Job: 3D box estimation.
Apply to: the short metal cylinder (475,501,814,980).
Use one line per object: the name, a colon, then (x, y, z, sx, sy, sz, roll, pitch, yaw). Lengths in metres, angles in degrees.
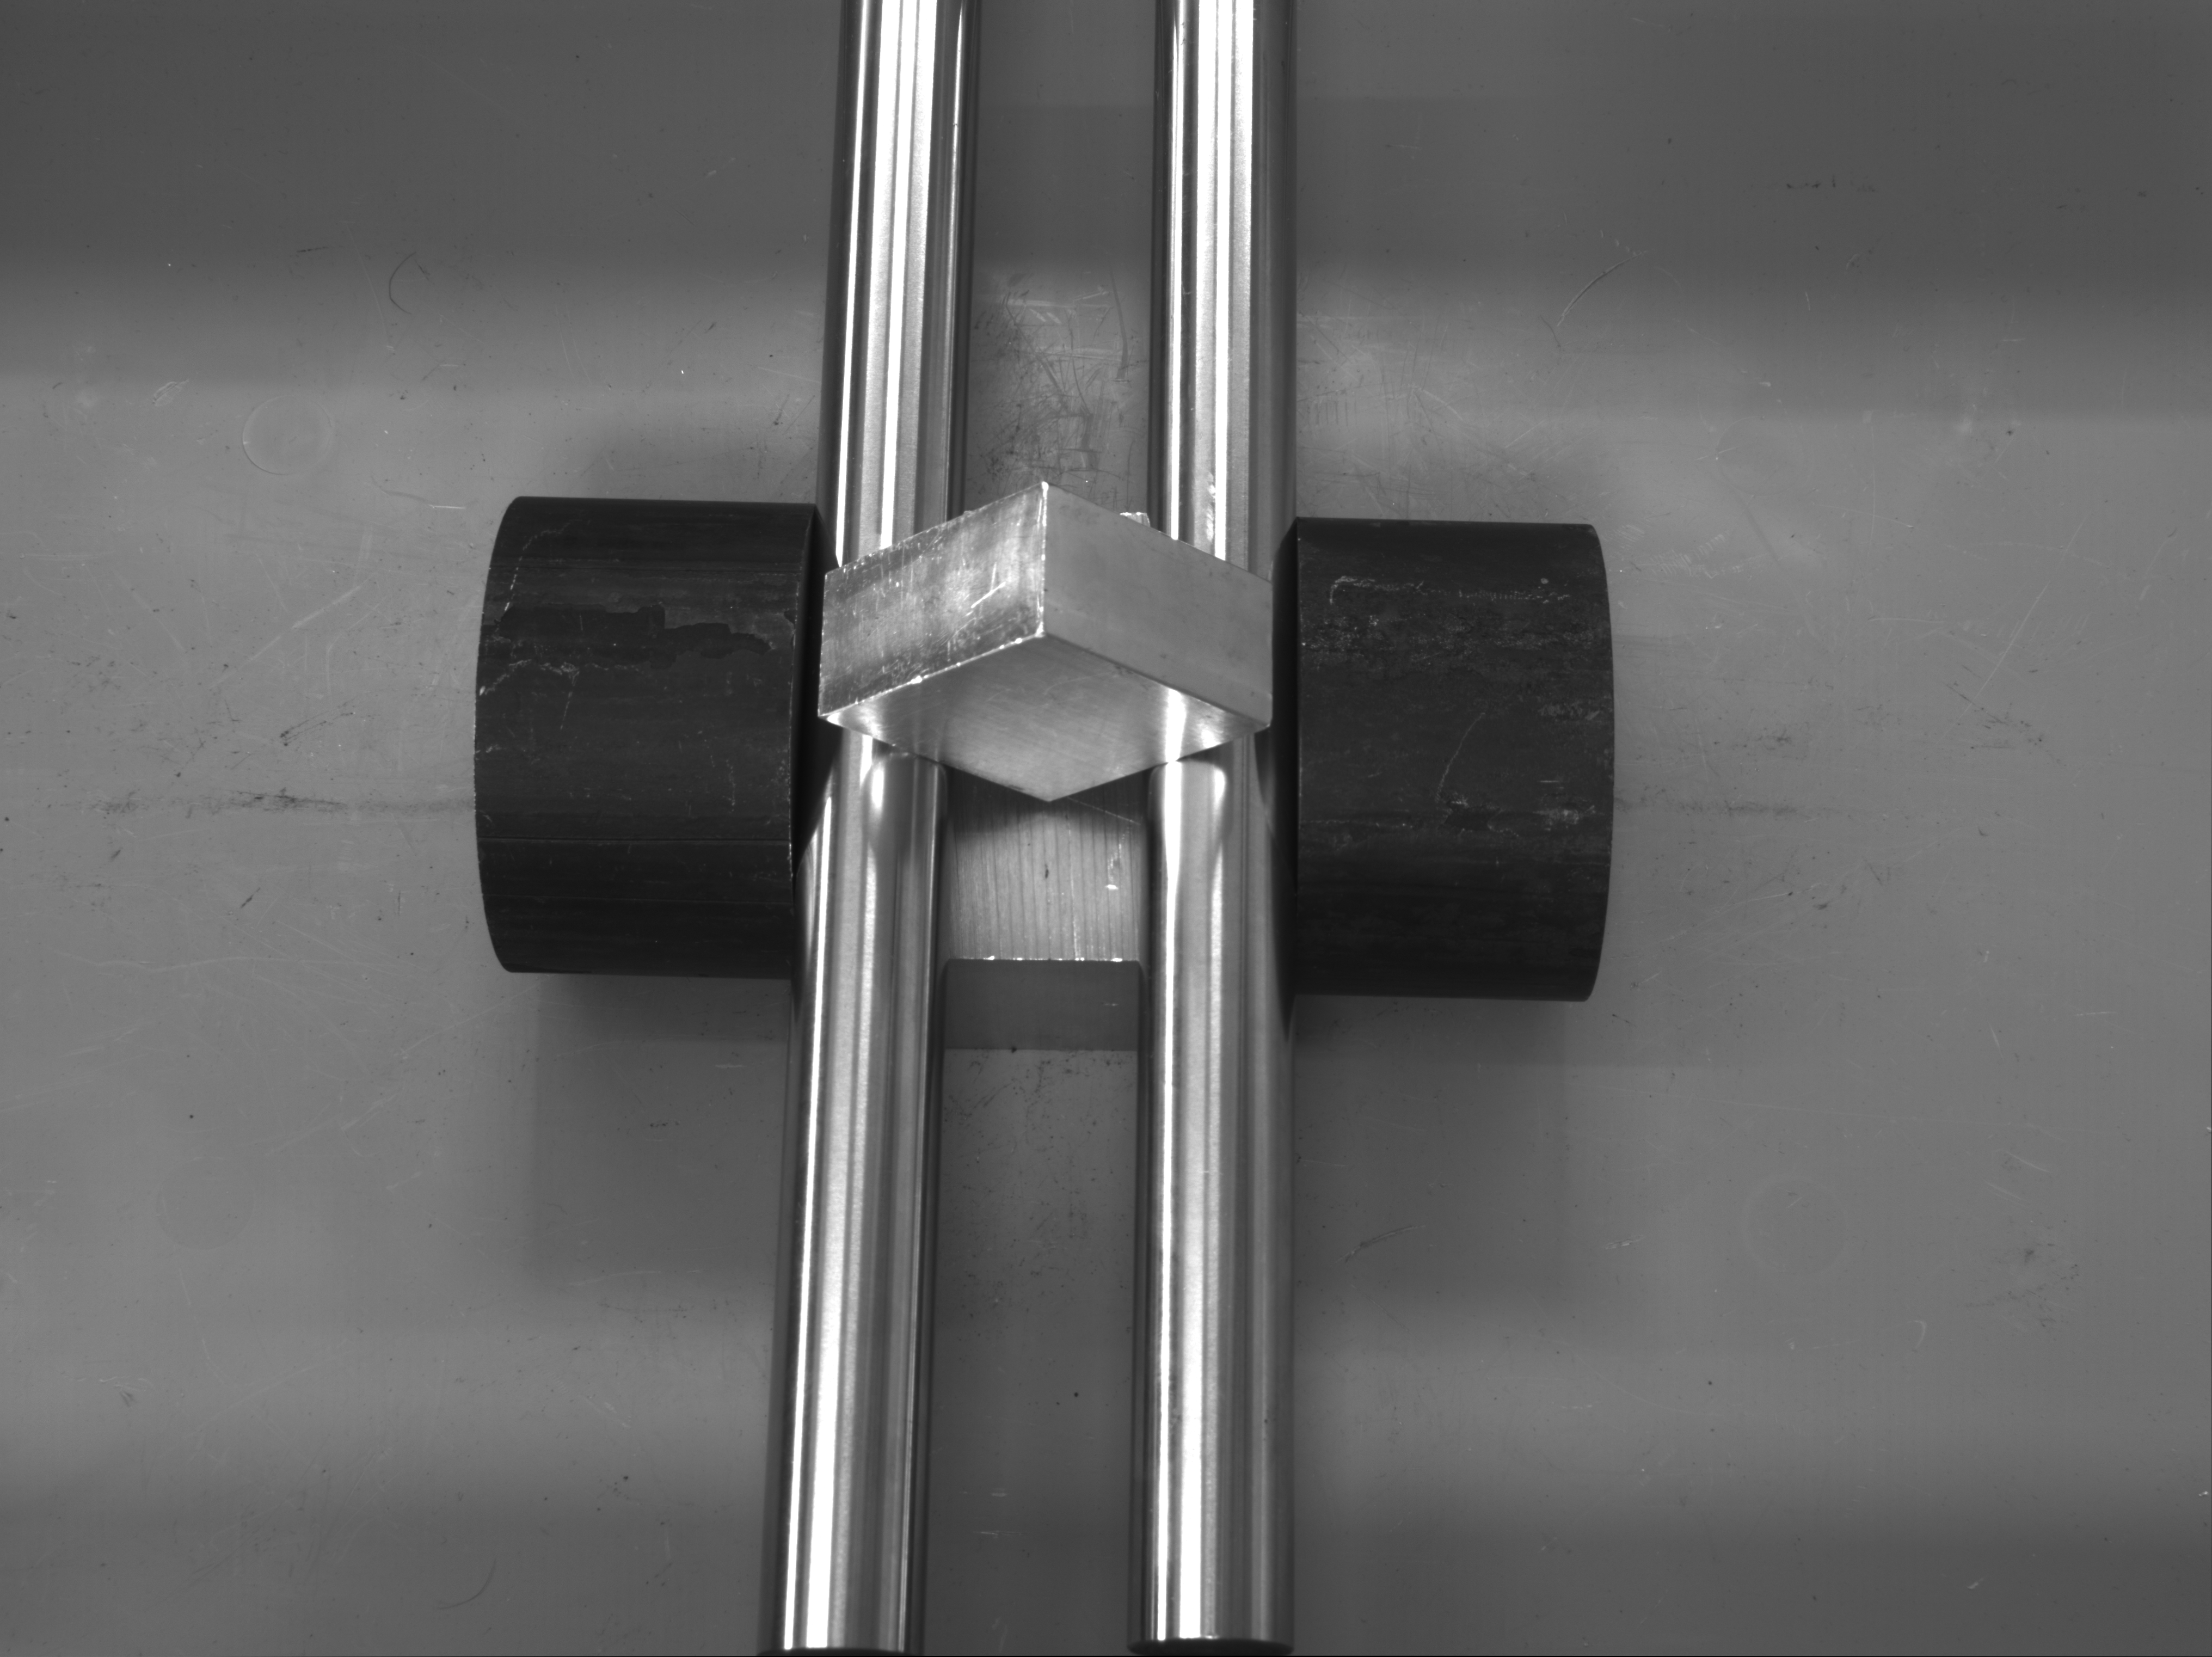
short metal cylinder: (-0.074, -0.015, 0.621, 0.050, 0.080, 0.080, 1, 70, 1)

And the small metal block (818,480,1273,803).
small metal block: (-0.009, -0.028, 0.574, 0.050, 0.050, 0.025, -18, 63, 42)

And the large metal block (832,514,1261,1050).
large metal block: (-0.009, -0.007, 0.633, 0.080, 0.050, 0.080, 1, 70, 0)

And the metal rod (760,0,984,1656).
metal rod: (-0.036, -0.017, 0.598, 0.025, 0.025, 0.300, 1, 70, 1)

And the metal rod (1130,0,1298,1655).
metal rod: (0.019, -0.018, 0.598, 0.025, 0.025, 0.300, 1, 70, 1)

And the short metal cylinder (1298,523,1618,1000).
short metal cylinder: (0.057, -0.011, 0.618, 0.050, 0.080, 0.080, 0, 70, 1)
